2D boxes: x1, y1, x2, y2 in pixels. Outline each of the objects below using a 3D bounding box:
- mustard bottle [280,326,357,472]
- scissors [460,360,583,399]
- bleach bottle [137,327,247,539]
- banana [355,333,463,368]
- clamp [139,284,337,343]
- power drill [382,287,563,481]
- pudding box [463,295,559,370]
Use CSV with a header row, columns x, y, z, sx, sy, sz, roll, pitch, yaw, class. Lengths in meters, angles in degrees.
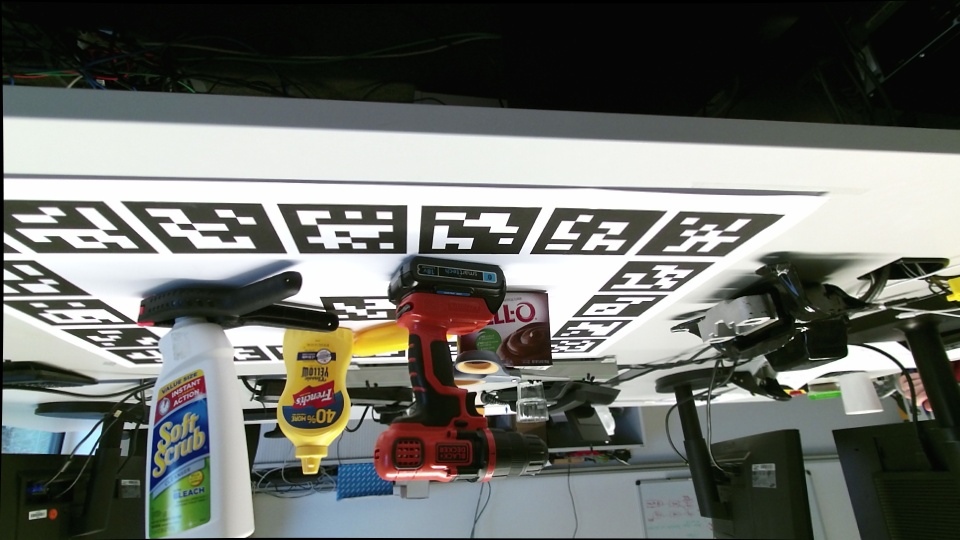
x,y,z,sx,sy,sz,roll,pitch,yaw,class
-0.220,0.173,0.730,0.096,0.190,0.058,7,155,-21,mustard bottle
0.048,0.138,0.641,0.204,0.016,0.088,16,146,-28,scissors
-0.306,0.160,0.569,0.103,0.249,0.068,-14,160,6,bleach bottle
-0.119,0.119,0.784,0.198,0.038,0.074,-17,170,28,banana
-0.276,0.059,0.600,0.203,0.036,0.165,-1,155,-2,clamp
-0.007,0.114,0.543,0.185,0.186,0.057,3,163,-22,power drill
0.036,0.077,0.658,0.114,0.089,0.039,2,163,-12,pudding box
